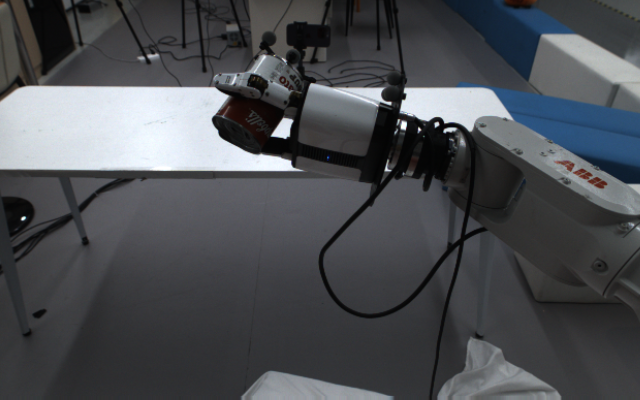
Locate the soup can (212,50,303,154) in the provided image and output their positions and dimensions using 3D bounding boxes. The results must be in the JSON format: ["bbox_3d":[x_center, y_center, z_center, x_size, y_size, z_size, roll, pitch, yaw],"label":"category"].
[{"bbox_3d":[-0.071,-0.115,0.577,0.067,0.067,0.101,23,71,27],"label":"soup can"}]
